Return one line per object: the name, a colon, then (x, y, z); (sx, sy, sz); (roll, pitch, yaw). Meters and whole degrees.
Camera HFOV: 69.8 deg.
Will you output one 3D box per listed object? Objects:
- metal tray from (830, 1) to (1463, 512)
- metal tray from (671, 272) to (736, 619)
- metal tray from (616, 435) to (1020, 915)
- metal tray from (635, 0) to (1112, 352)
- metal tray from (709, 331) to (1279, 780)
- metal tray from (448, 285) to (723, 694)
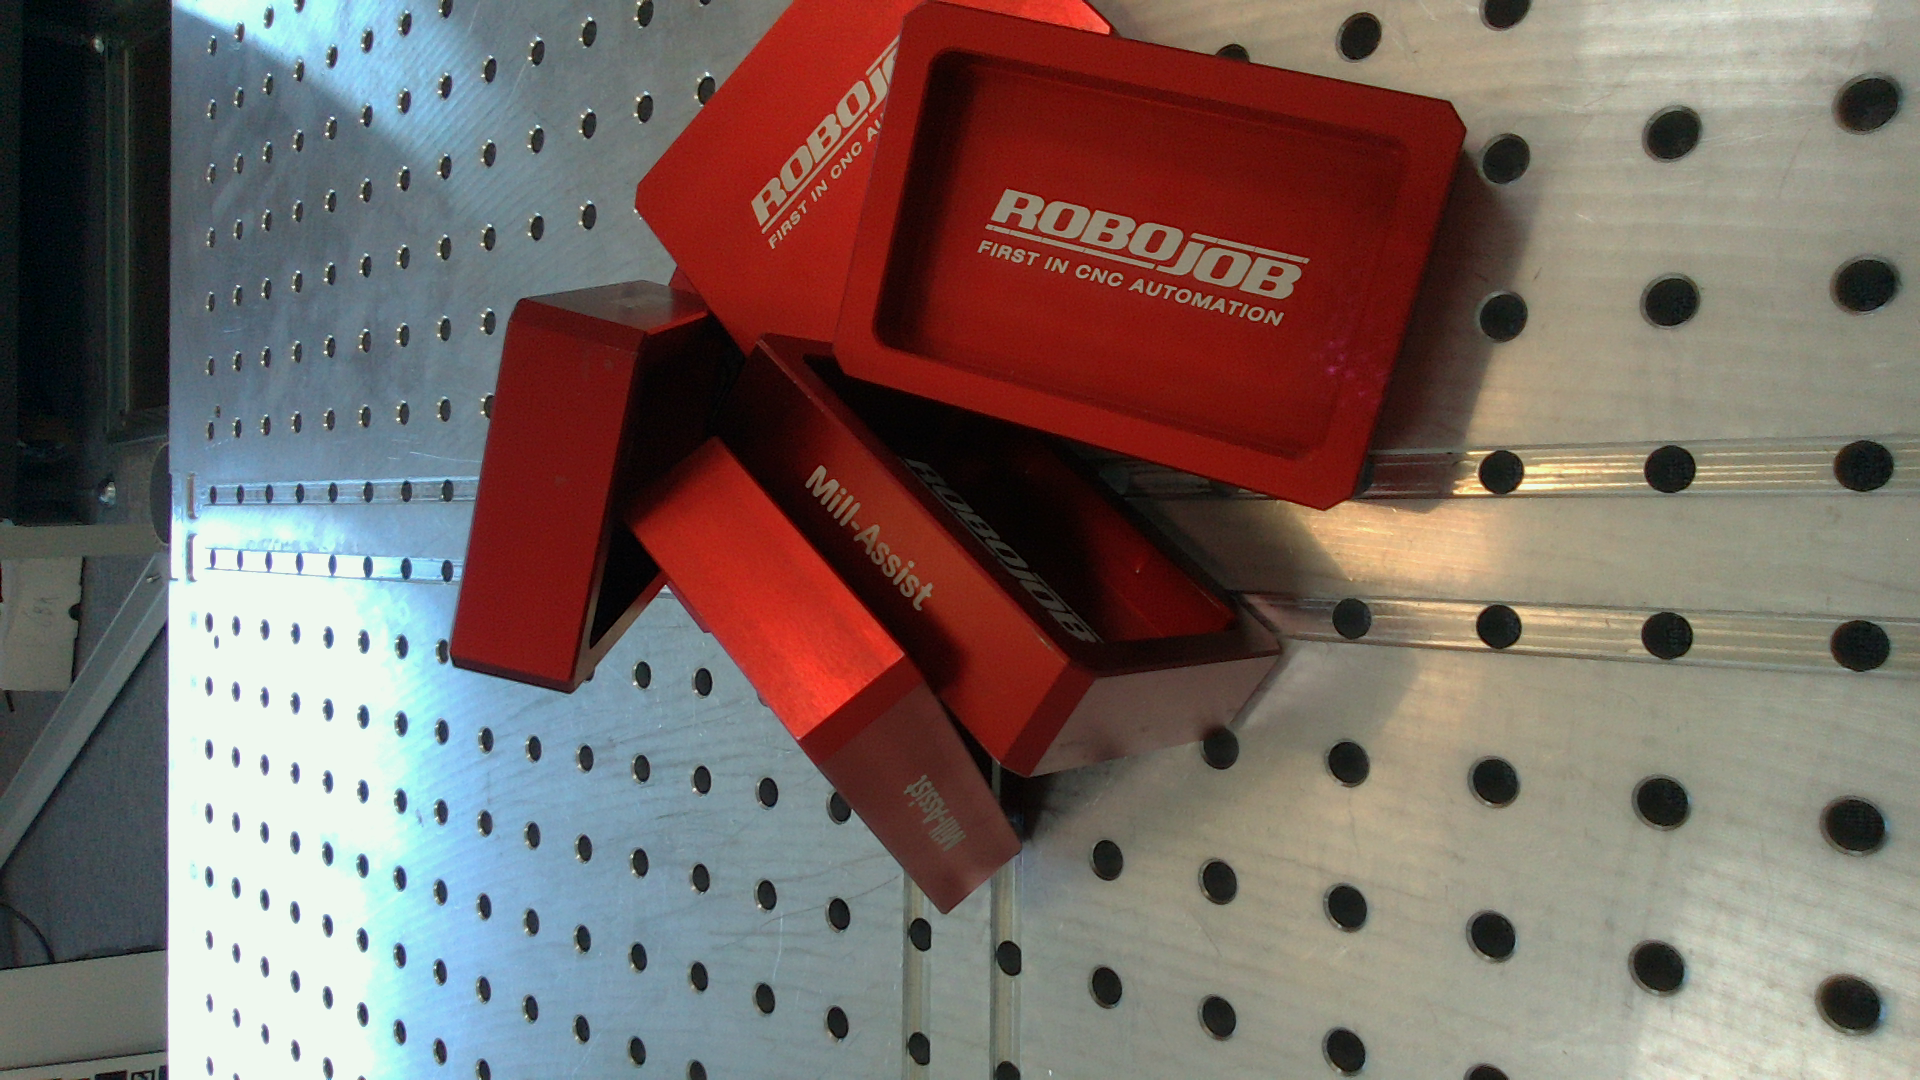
metal tray: (0.041, -0.068, 0.328); (0.130, 0.030, 0.090); (17, 102, 16)
metal tray: (-0.068, -0.046, 0.451); (0.090, 0.030, 0.130); (46, 118, 29)
metal tray: (-0.033, 0.040, 0.363); (0.030, 0.130, 0.090); (-38, 59, -9)
metal tray: (-0.023, -0.112, 0.390); (0.130, 0.030, 0.090); (-44, 66, 15)
metal tray: (0.008, -0.001, 0.348); (0.130, 0.090, 0.030); (46, 117, 30)
metal tray: (-0.097, -0.022, 0.380); (0.030, 0.130, 0.090); (14, 102, -3)
